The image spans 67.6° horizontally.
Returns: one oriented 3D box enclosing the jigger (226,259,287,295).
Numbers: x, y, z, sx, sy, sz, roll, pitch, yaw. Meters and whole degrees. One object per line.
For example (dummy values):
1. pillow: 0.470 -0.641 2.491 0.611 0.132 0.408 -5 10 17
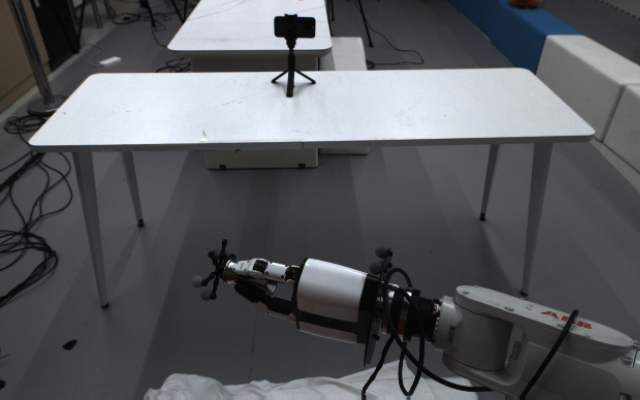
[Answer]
1. jigger: -0.092 0.105 0.687 0.071 0.043 0.043 9 35 16
